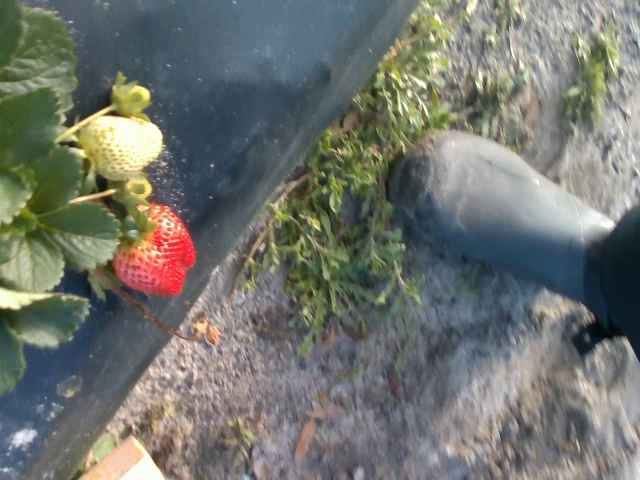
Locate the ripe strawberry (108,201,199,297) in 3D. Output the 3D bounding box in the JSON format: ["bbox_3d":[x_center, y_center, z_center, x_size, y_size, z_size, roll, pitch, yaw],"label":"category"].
[{"bbox_3d":[-0.083,0.010,0.335,0.034,0.048,0.050,30,-12,35],"label":"ripe strawberry"}]
